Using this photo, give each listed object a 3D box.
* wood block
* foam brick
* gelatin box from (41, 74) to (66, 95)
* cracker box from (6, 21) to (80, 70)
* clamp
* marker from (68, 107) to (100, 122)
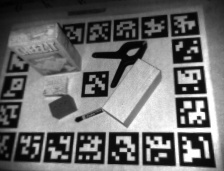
[{"bbox_3d":[0.055,0.025,0.719,0.089,0.092,0.206,34,80,23],"label":"wood block"},{"bbox_3d":[-0.188,0.070,0.773,0.078,0.052,0.052,-25,70,4],"label":"foam brick"},{"bbox_3d":[-0.221,-0.002,0.818,0.089,0.030,0.073,-2,74,12],"label":"gelatin box"},{"bbox_3d":[-0.225,-0.128,0.752,0.163,0.215,0.072,-5,70,10],"label":"cracker box"},{"bbox_3d":[0.030,-0.109,0.792,0.202,0.037,0.164,-31,70,2],"label":"clamp"},{"bbox_3d":[-0.099,0.102,0.760,0.121,0.020,0.019,-21,71,5],"label":"marker"}]
